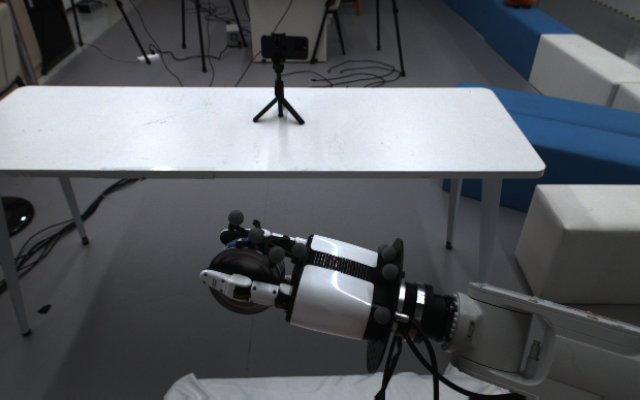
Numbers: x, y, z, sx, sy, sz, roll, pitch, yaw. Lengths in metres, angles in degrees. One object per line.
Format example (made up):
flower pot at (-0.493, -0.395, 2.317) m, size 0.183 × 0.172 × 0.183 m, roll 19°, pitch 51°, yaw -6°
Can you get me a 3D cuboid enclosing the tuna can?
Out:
tuna can at (-0.082, 0.086, 0.562) m, size 0.085 × 0.085 × 0.034 m, roll 7°, pitch 17°, yaw 7°
